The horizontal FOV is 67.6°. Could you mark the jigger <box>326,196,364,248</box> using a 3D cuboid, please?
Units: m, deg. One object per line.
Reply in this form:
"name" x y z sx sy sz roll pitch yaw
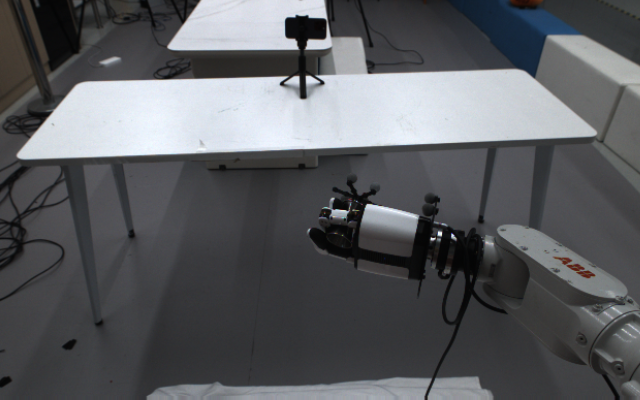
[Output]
"jigger" 0.043 0.034 0.769 0.043 0.043 0.071 15 58 18
